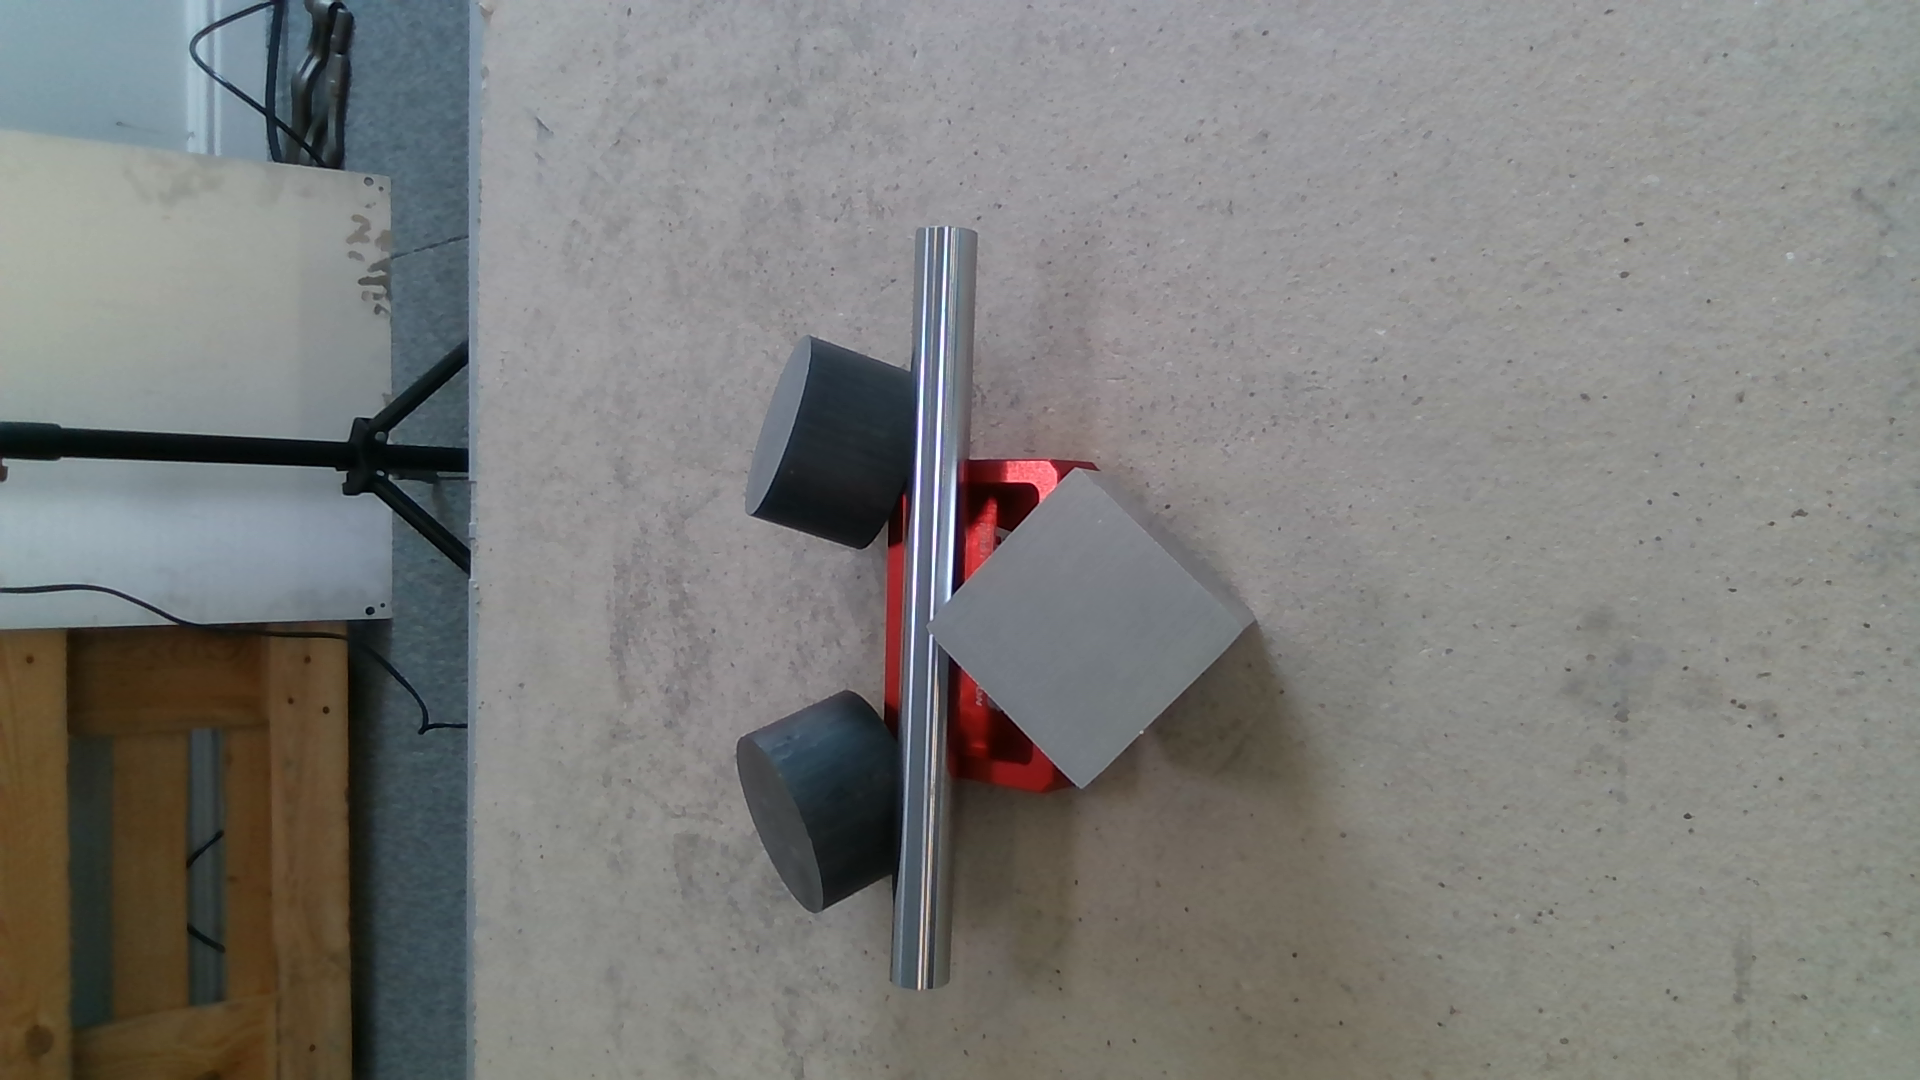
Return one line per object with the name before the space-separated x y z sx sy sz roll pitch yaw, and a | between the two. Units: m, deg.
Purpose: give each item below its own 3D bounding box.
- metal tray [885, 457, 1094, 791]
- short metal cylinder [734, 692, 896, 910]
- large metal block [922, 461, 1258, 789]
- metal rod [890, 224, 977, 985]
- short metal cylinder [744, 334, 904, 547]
metal tray | 0.012 0.032 0.570 0.090 0.030 0.130 3 92 40
short metal cylinder | -0.057 0.111 0.594 0.080 0.050 0.080 43 145 42
large metal block | 0.048 0.029 0.498 0.080 0.050 0.080 46 103 12
metal rod | -0.011 0.027 0.553 0.025 0.025 0.300 4 93 40
short metal cylinder | -0.055 -0.042 0.588 0.080 0.050 0.080 -163 91 -72
